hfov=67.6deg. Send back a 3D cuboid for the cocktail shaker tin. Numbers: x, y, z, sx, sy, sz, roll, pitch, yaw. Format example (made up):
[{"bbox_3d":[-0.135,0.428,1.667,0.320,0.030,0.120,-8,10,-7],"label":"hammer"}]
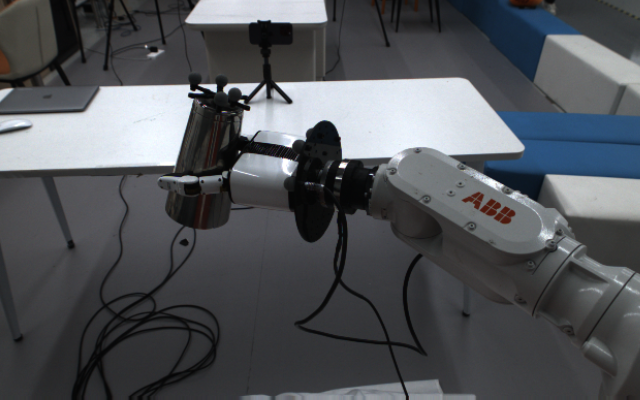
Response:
[{"bbox_3d":[-0.155,-0.058,0.669,0.093,0.170,0.093,15,27,-8],"label":"cocktail shaker tin"}]
